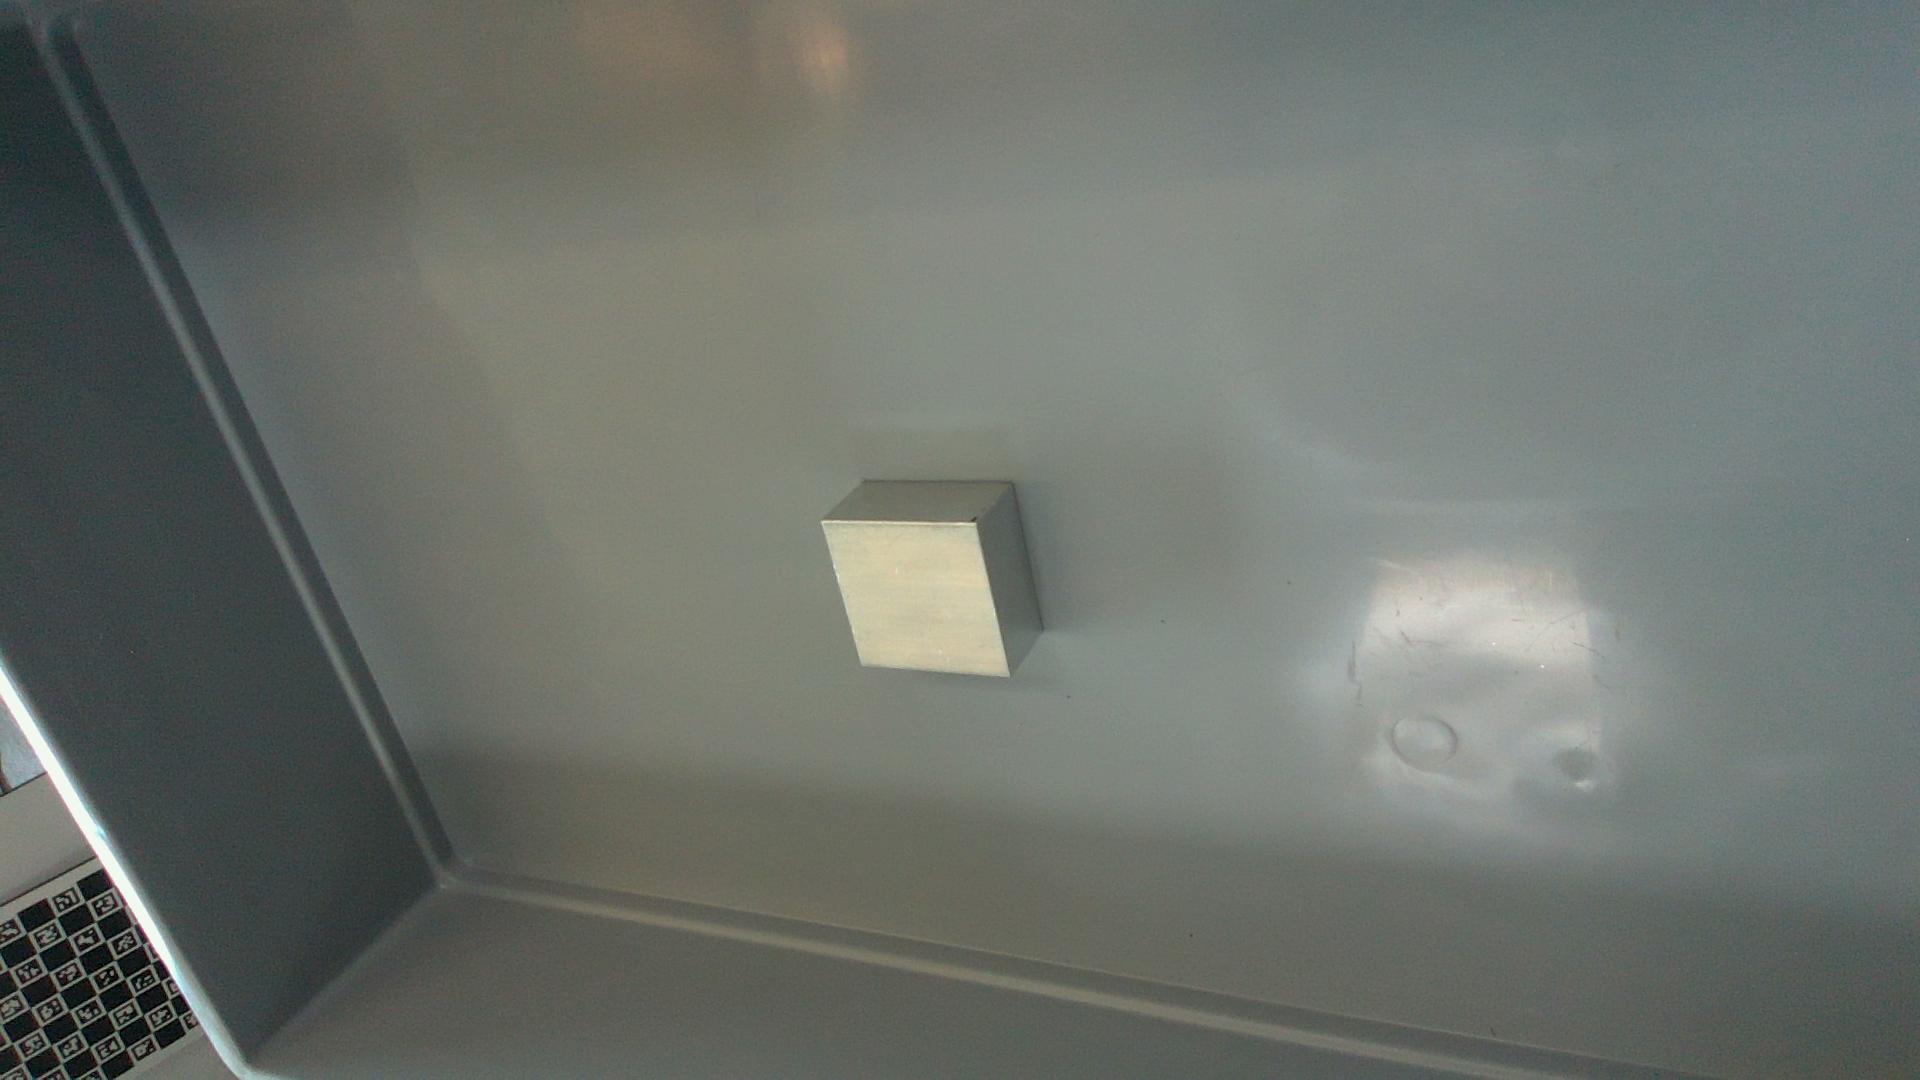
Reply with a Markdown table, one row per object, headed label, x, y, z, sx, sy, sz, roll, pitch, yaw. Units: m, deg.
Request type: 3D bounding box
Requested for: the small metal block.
| label | x | y | z | sx | sy | sz | roll | pitch | yaw |
| --- | --- | --- | --- | --- | --- | --- | --- | --- | --- |
| small metal block | -0.008 | 0.011 | 0.399 | 0.050 | 0.025 | 0.050 | 2 | 119 | 28 |
